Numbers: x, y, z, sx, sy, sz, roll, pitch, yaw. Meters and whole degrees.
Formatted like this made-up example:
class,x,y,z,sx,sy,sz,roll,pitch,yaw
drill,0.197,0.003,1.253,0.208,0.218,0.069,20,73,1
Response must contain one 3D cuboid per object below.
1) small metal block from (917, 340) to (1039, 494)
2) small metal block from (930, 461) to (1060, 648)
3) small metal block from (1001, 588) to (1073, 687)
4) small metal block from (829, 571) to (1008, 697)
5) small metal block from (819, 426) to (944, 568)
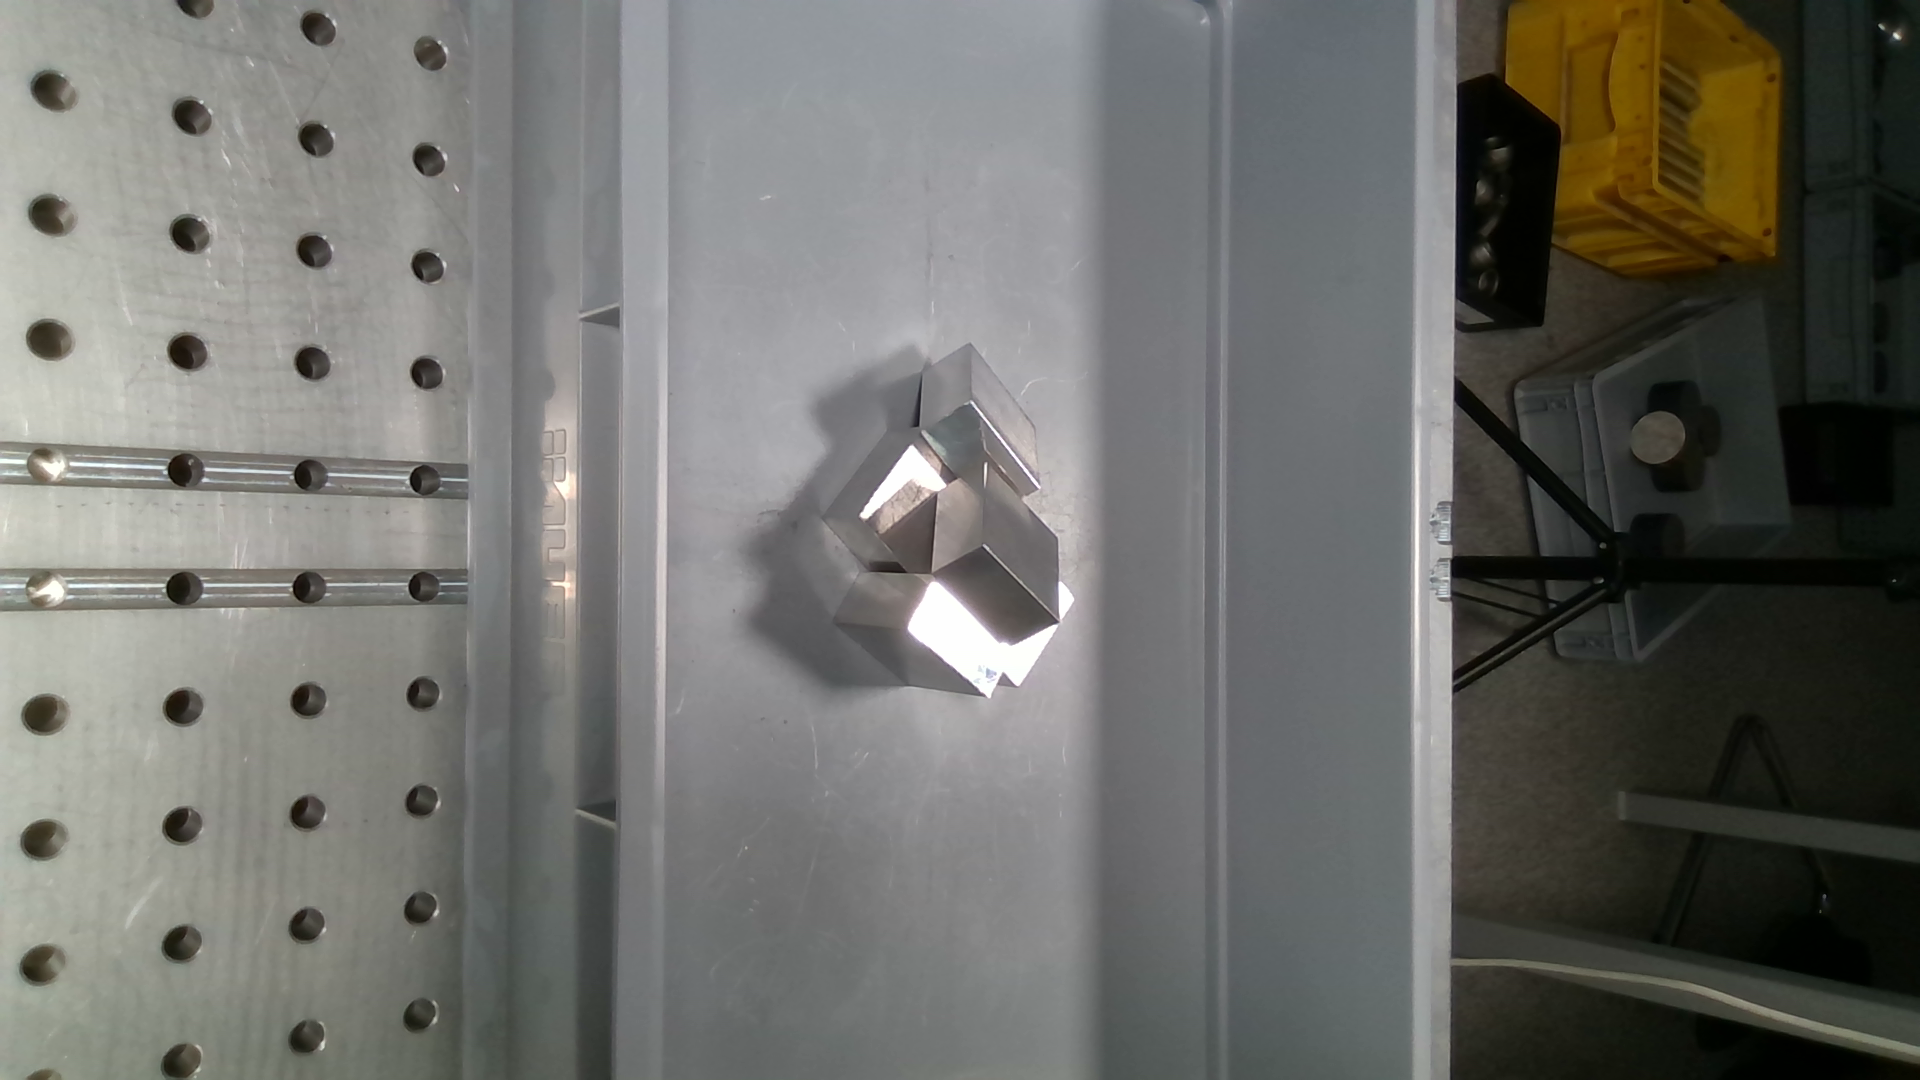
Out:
class,x,y,z,sx,sy,sz,roll,pitch,yaw
small metal block,0.007,-0.047,0.572,0.050,0.025,0.050,49,22,-28
small metal block,0.014,0.006,0.545,0.050,0.025,0.050,45,29,-31
small metal block,0.015,0.027,0.594,0.050,0.025,0.050,50,61,-29
small metal block,-0.015,0.037,0.552,0.050,0.050,0.025,43,64,-32
small metal block,-0.021,-0.011,0.563,0.050,0.025,0.050,50,61,-29
